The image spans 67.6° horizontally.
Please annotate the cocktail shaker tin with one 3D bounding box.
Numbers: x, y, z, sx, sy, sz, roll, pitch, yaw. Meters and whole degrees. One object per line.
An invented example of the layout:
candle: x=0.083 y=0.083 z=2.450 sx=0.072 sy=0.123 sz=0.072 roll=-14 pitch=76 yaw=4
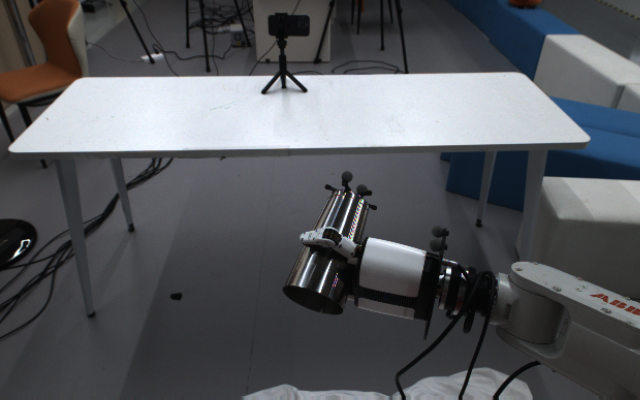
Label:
cocktail shaker tin: x=0.015 y=0.071 z=0.716 sx=0.093 sy=0.093 sz=0.170 roll=15 pitch=61 yaw=17
